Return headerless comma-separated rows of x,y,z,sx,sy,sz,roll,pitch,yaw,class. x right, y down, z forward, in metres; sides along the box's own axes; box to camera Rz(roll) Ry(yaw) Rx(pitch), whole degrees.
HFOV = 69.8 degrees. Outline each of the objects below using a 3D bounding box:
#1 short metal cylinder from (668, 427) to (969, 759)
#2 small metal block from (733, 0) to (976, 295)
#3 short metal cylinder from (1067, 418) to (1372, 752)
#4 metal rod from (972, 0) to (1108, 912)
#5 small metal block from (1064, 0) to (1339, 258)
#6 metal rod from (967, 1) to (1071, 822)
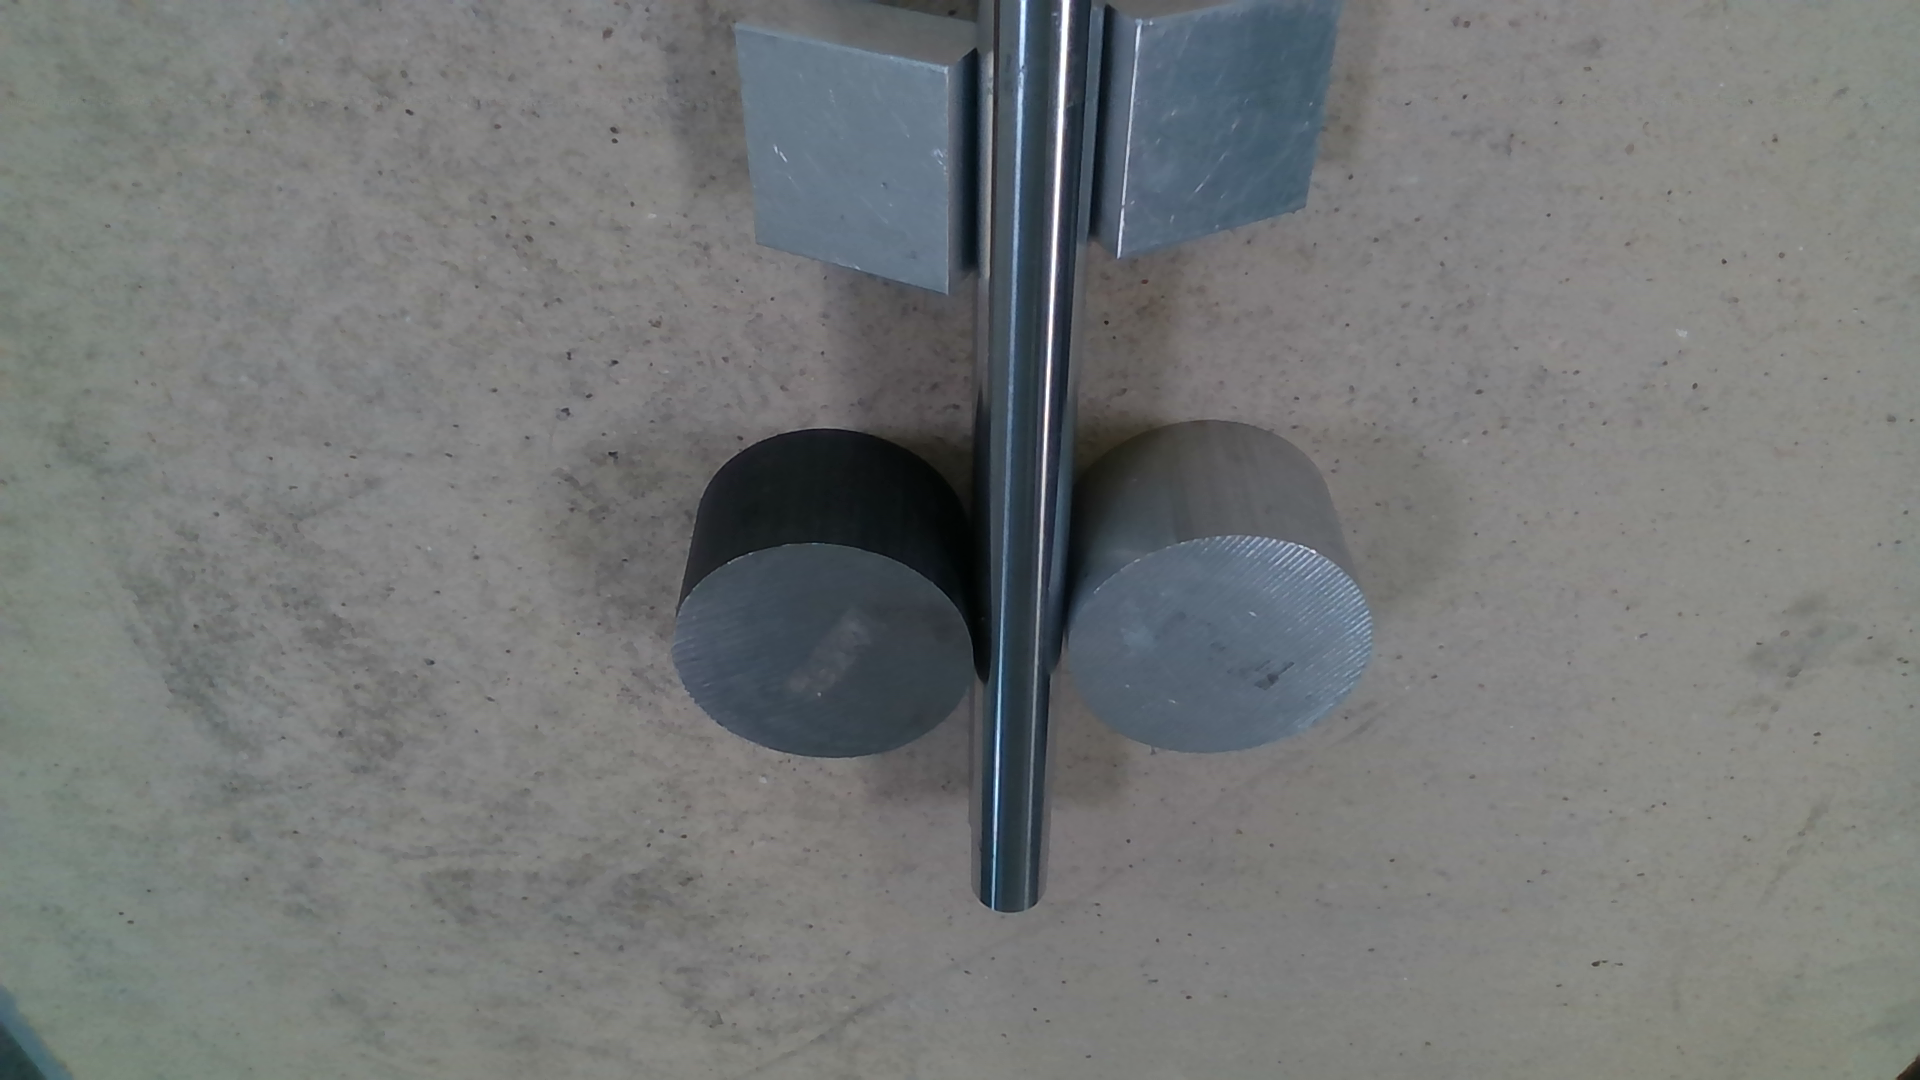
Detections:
-0.037,0.016,0.386,0.080,0.050,0.080,0,130,0,short metal cylinder
-0.019,-0.087,0.302,0.050,0.025,0.050,18,134,20,small metal block
0.069,0.013,0.384,0.080,0.050,0.080,0,130,0,short metal cylinder
0.016,-0.004,0.353,0.025,0.025,0.301,0,130,0,metal rod
0.050,-0.094,0.297,0.050,0.025,0.050,-18,133,-21,small metal block
0.015,-0.021,0.371,0.025,0.025,0.301,0,130,0,metal rod
